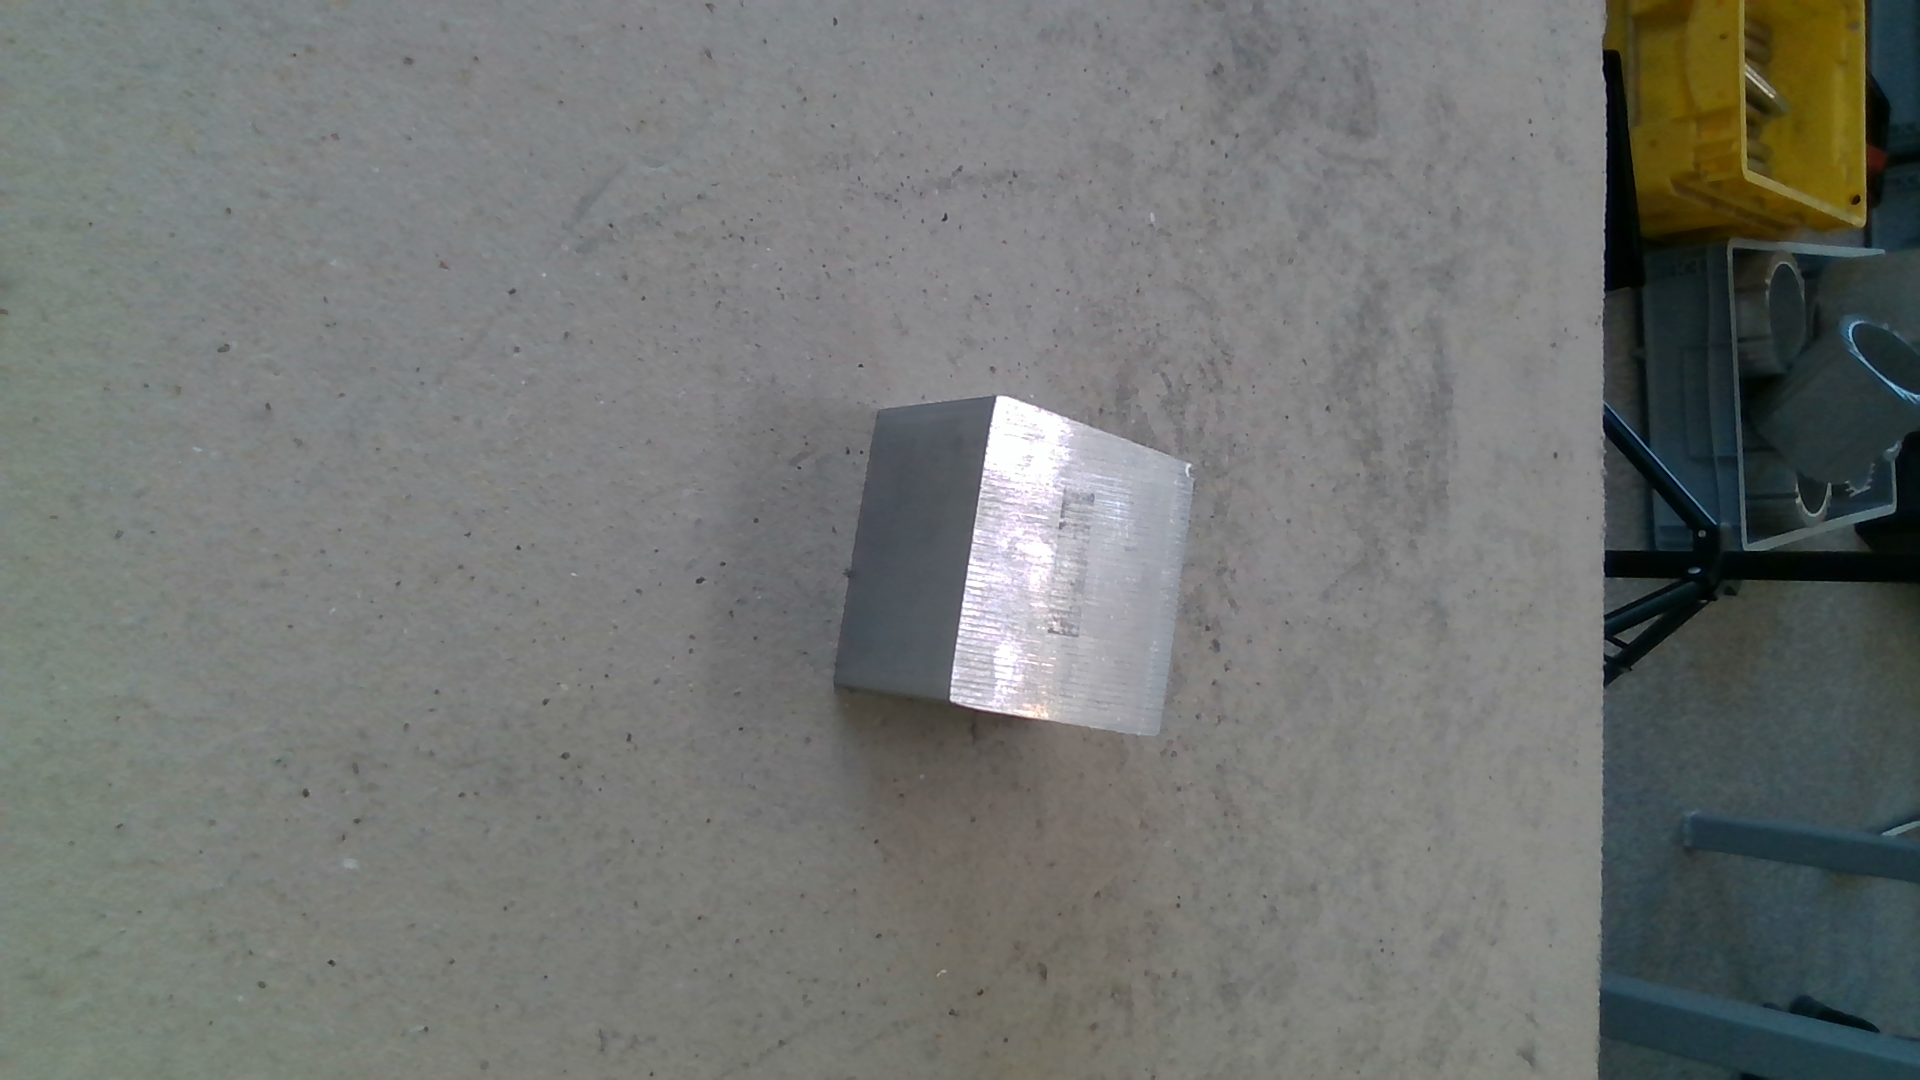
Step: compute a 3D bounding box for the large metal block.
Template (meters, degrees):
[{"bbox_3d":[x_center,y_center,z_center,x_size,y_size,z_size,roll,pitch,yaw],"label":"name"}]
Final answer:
[{"bbox_3d":[0.016,0.009,0.389,0.080,0.050,0.080,15,82,-39],"label":"large metal block"}]
